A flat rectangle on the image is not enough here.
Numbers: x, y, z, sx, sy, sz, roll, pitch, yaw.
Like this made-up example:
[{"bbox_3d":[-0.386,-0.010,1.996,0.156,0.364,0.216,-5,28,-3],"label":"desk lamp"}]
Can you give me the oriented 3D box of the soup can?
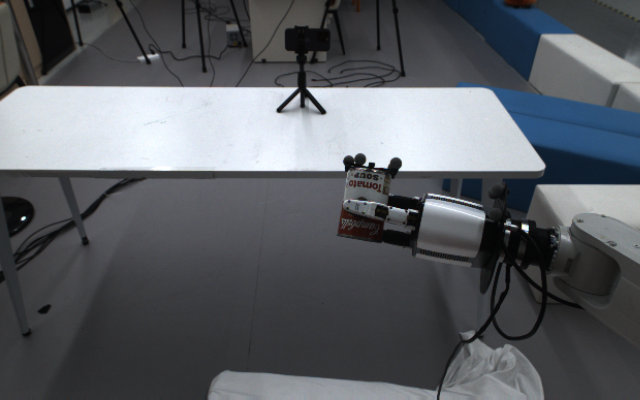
[{"bbox_3d":[0.067,0.007,0.716,0.067,0.101,0.067,9,-5,1],"label":"soup can"}]
